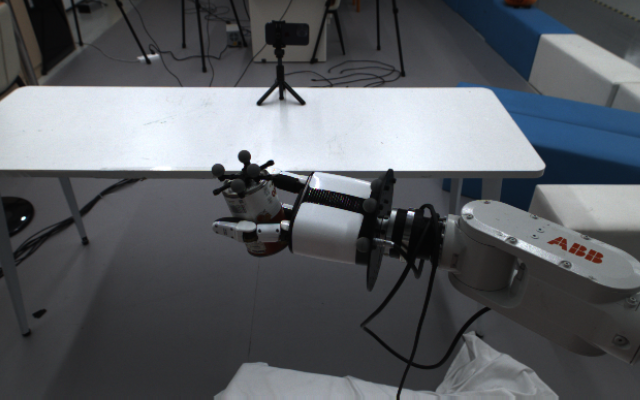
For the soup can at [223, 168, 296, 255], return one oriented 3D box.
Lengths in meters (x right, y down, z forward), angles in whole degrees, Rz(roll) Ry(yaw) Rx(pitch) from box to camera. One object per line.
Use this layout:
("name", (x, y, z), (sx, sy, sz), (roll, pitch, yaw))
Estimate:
("soup can", (-0.081, 0.018, 0.651), (0.067, 0.101, 0.067), (-14, 31, 8))
